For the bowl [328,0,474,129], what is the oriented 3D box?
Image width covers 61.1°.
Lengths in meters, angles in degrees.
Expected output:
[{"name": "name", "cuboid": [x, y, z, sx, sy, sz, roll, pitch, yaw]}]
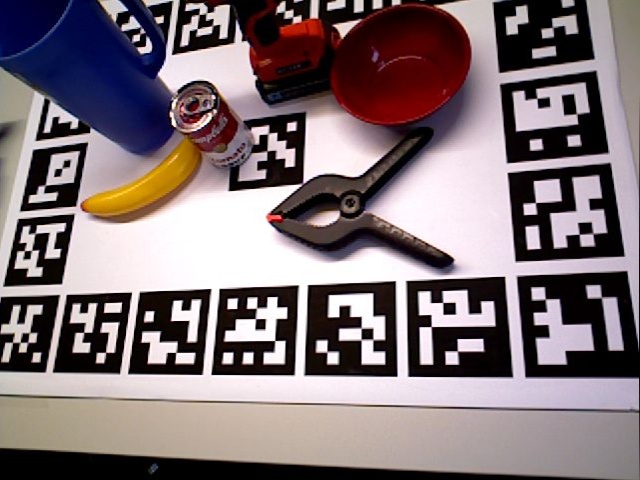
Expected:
[{"name": "bowl", "cuboid": [0.093, -0.188, 0.620, 0.162, 0.055, 0.160, -6, 73, 17]}]

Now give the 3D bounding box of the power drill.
[{"name": "power drill", "cuboid": [-0.034, -0.261, 0.594, 0.185, 0.187, 0.057, -10, 69, 14]}]

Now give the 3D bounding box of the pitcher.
[{"name": "pitcher", "cuboid": [-0.265, -0.208, 0.645, 0.189, 0.243, 0.132, -28, 62, 7]}]

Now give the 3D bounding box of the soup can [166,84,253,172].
[{"name": "soup can", "cuboid": [-0.130, -0.137, 0.656, 0.068, 0.103, 0.067, -8, 61, 15]}]

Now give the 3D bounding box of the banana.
[{"name": "banana", "cuboid": [-0.240, -0.068, 0.707, 0.198, 0.039, 0.073, -29, 58, 6]}]

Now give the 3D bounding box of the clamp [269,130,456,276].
[{"name": "clamp", "cuboid": [0.036, -0.032, 0.593, 0.204, 0.036, 0.164, -8, 75, 16]}]
